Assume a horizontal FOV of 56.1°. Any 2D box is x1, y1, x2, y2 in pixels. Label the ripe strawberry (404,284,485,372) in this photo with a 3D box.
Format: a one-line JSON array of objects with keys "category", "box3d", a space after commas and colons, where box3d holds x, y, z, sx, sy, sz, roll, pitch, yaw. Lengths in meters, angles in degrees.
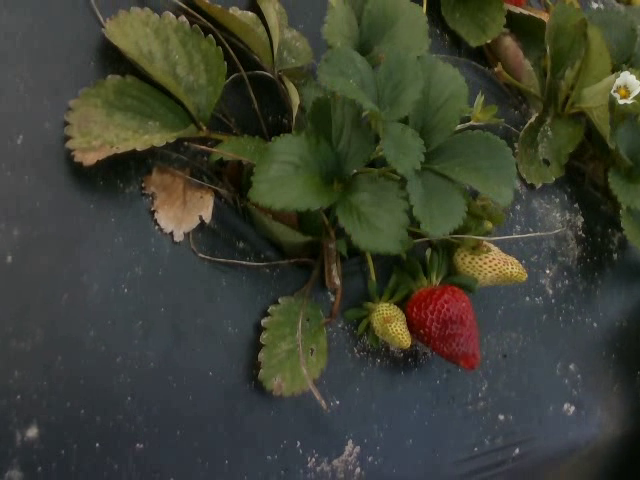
[{"category": "ripe strawberry", "box3d": [0.073, 0.053, 0.336, 0.046, 0.046, 0.059, -6, 45, -24]}]
